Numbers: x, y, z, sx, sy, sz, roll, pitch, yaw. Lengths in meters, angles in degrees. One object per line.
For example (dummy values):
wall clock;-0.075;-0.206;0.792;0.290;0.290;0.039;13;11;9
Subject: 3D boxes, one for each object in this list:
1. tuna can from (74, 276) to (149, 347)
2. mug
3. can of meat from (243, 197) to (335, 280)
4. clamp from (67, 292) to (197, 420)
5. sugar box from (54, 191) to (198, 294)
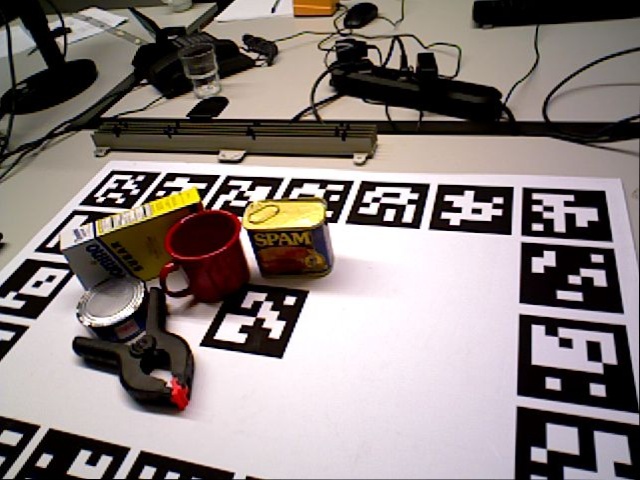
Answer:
tuna can;-0.247;0.085;0.641;0.086;0.034;0.084;-8;43;6
mug;-0.143;0.023;0.644;0.093;0.083;0.115;24;55;33
can of meat;-0.034;0.000;0.654;0.102;0.085;0.056;-2;41;9
clamp;-0.185;0.130;0.584;0.119;0.037;0.165;-32;49;-27
sugar box;-0.227;0.010;0.683;0.174;0.094;0.045;-21;41;-12
